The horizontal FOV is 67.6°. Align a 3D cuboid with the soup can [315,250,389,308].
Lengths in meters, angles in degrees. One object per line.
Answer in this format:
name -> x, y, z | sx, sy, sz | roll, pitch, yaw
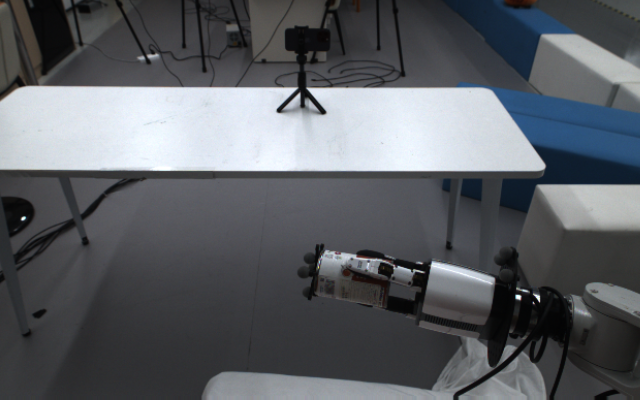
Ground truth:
soup can -> 0.051, 0.110, 0.682 | 0.101, 0.067, 0.067 | 8, 35, 9
